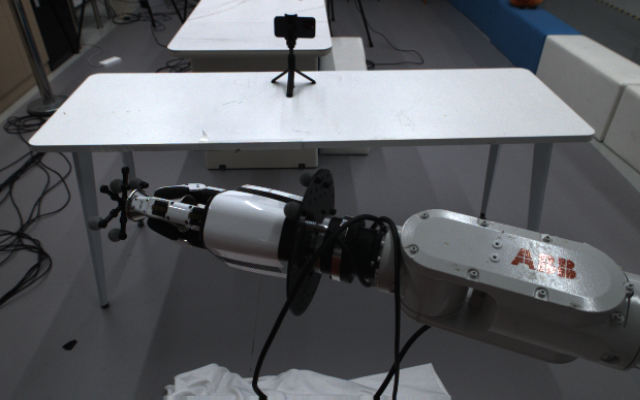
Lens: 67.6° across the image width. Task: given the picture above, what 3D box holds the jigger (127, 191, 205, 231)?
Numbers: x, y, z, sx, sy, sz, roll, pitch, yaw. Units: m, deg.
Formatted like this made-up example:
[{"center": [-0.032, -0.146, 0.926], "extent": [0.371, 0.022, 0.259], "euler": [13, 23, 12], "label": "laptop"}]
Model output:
[{"center": [-0.179, 0.008, 0.564], "extent": [0.071, 0.043, 0.043], "euler": [8, 35, 15], "label": "jigger"}]
